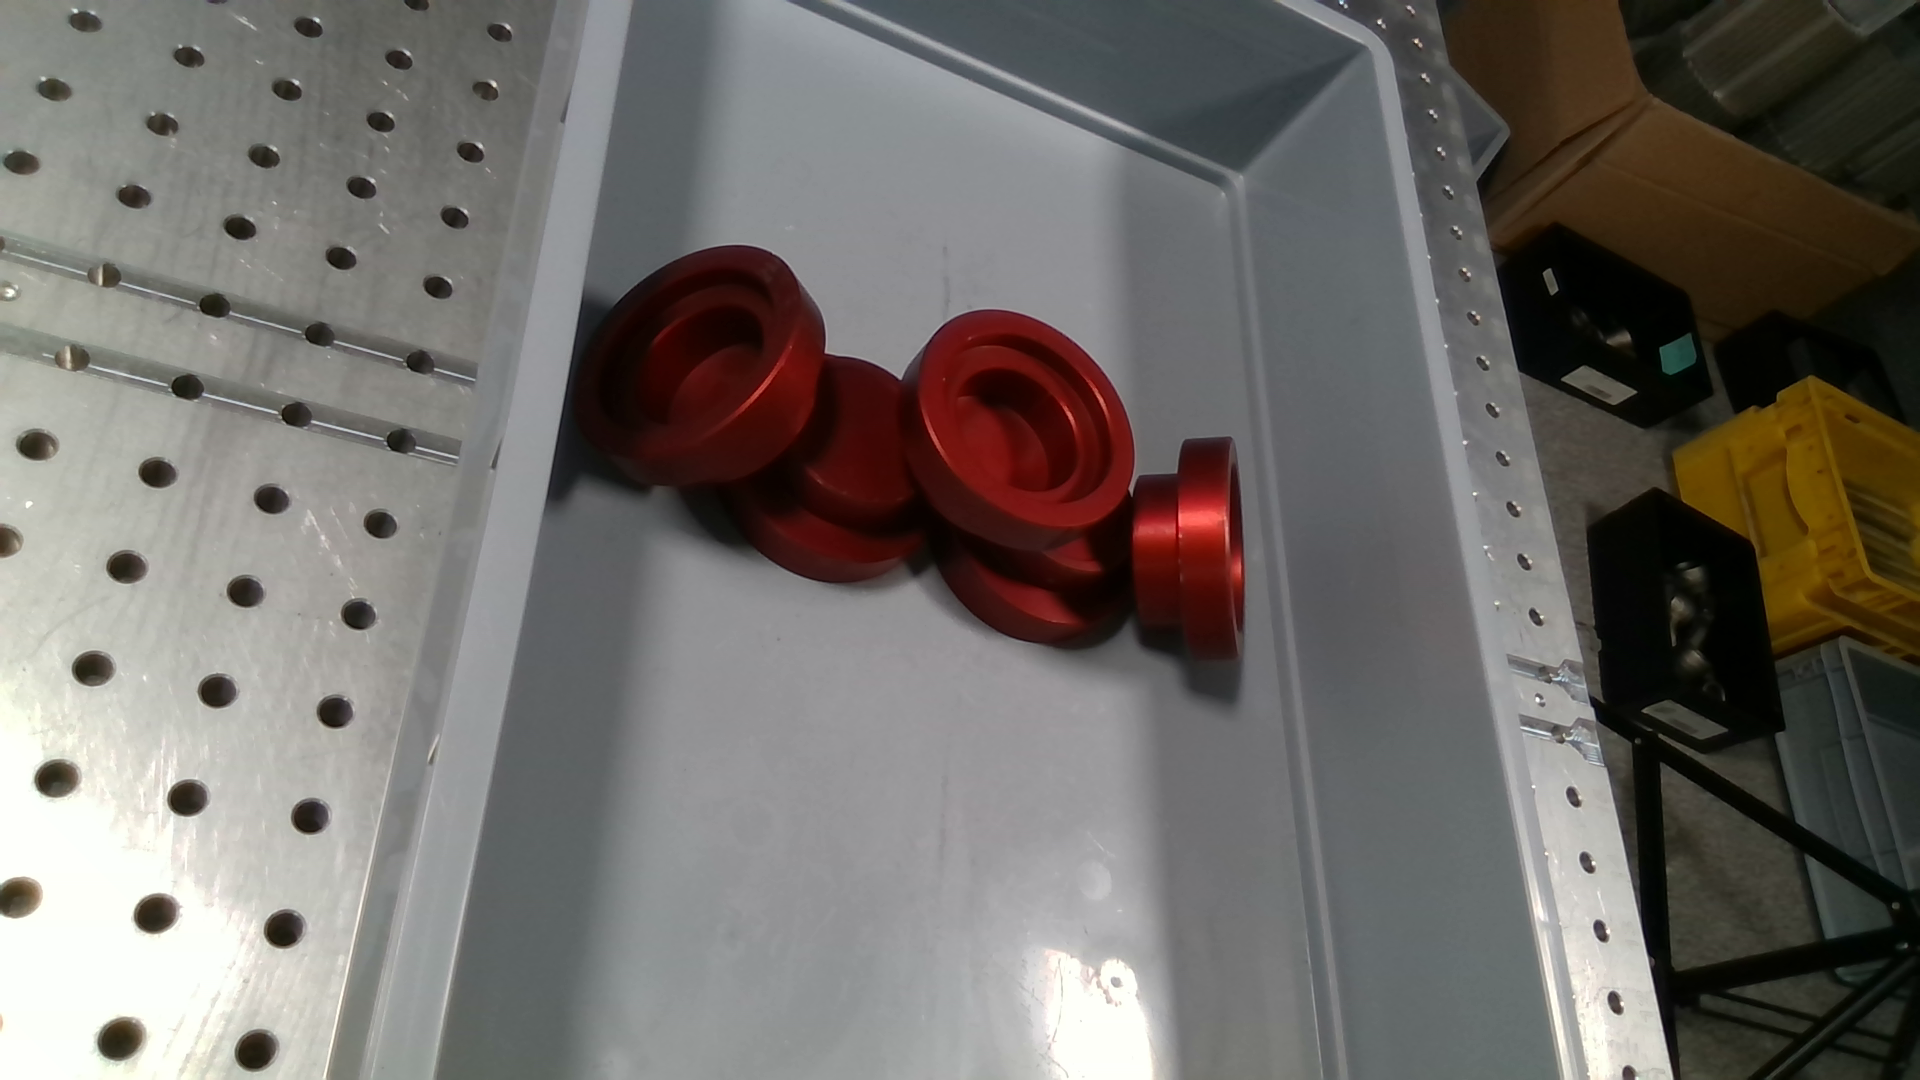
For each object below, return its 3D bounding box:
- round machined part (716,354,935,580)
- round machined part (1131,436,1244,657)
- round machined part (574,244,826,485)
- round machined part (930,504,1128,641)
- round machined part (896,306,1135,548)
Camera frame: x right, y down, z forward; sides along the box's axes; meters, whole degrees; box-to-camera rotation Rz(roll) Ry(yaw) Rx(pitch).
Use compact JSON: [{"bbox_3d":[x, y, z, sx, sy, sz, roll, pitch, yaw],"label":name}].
[{"bbox_3d":[-0.049,-0.036,0.562,0.098,0.042,0.098,14,59,-25],"label":"round machined part"},{"bbox_3d":[0.102,0.003,0.611,0.042,0.098,0.098,-2,57,15],"label":"round machined part"},{"bbox_3d":[-0.094,-0.062,0.526,0.042,0.098,0.098,52,37,-50],"label":"round machined part"},{"bbox_3d":[0.038,-0.009,0.601,0.098,0.042,0.098,14,59,-25],"label":"round machined part"},{"bbox_3d":[0.018,-0.041,0.551,0.098,0.042,0.098,14,59,-25],"label":"round machined part"}]
